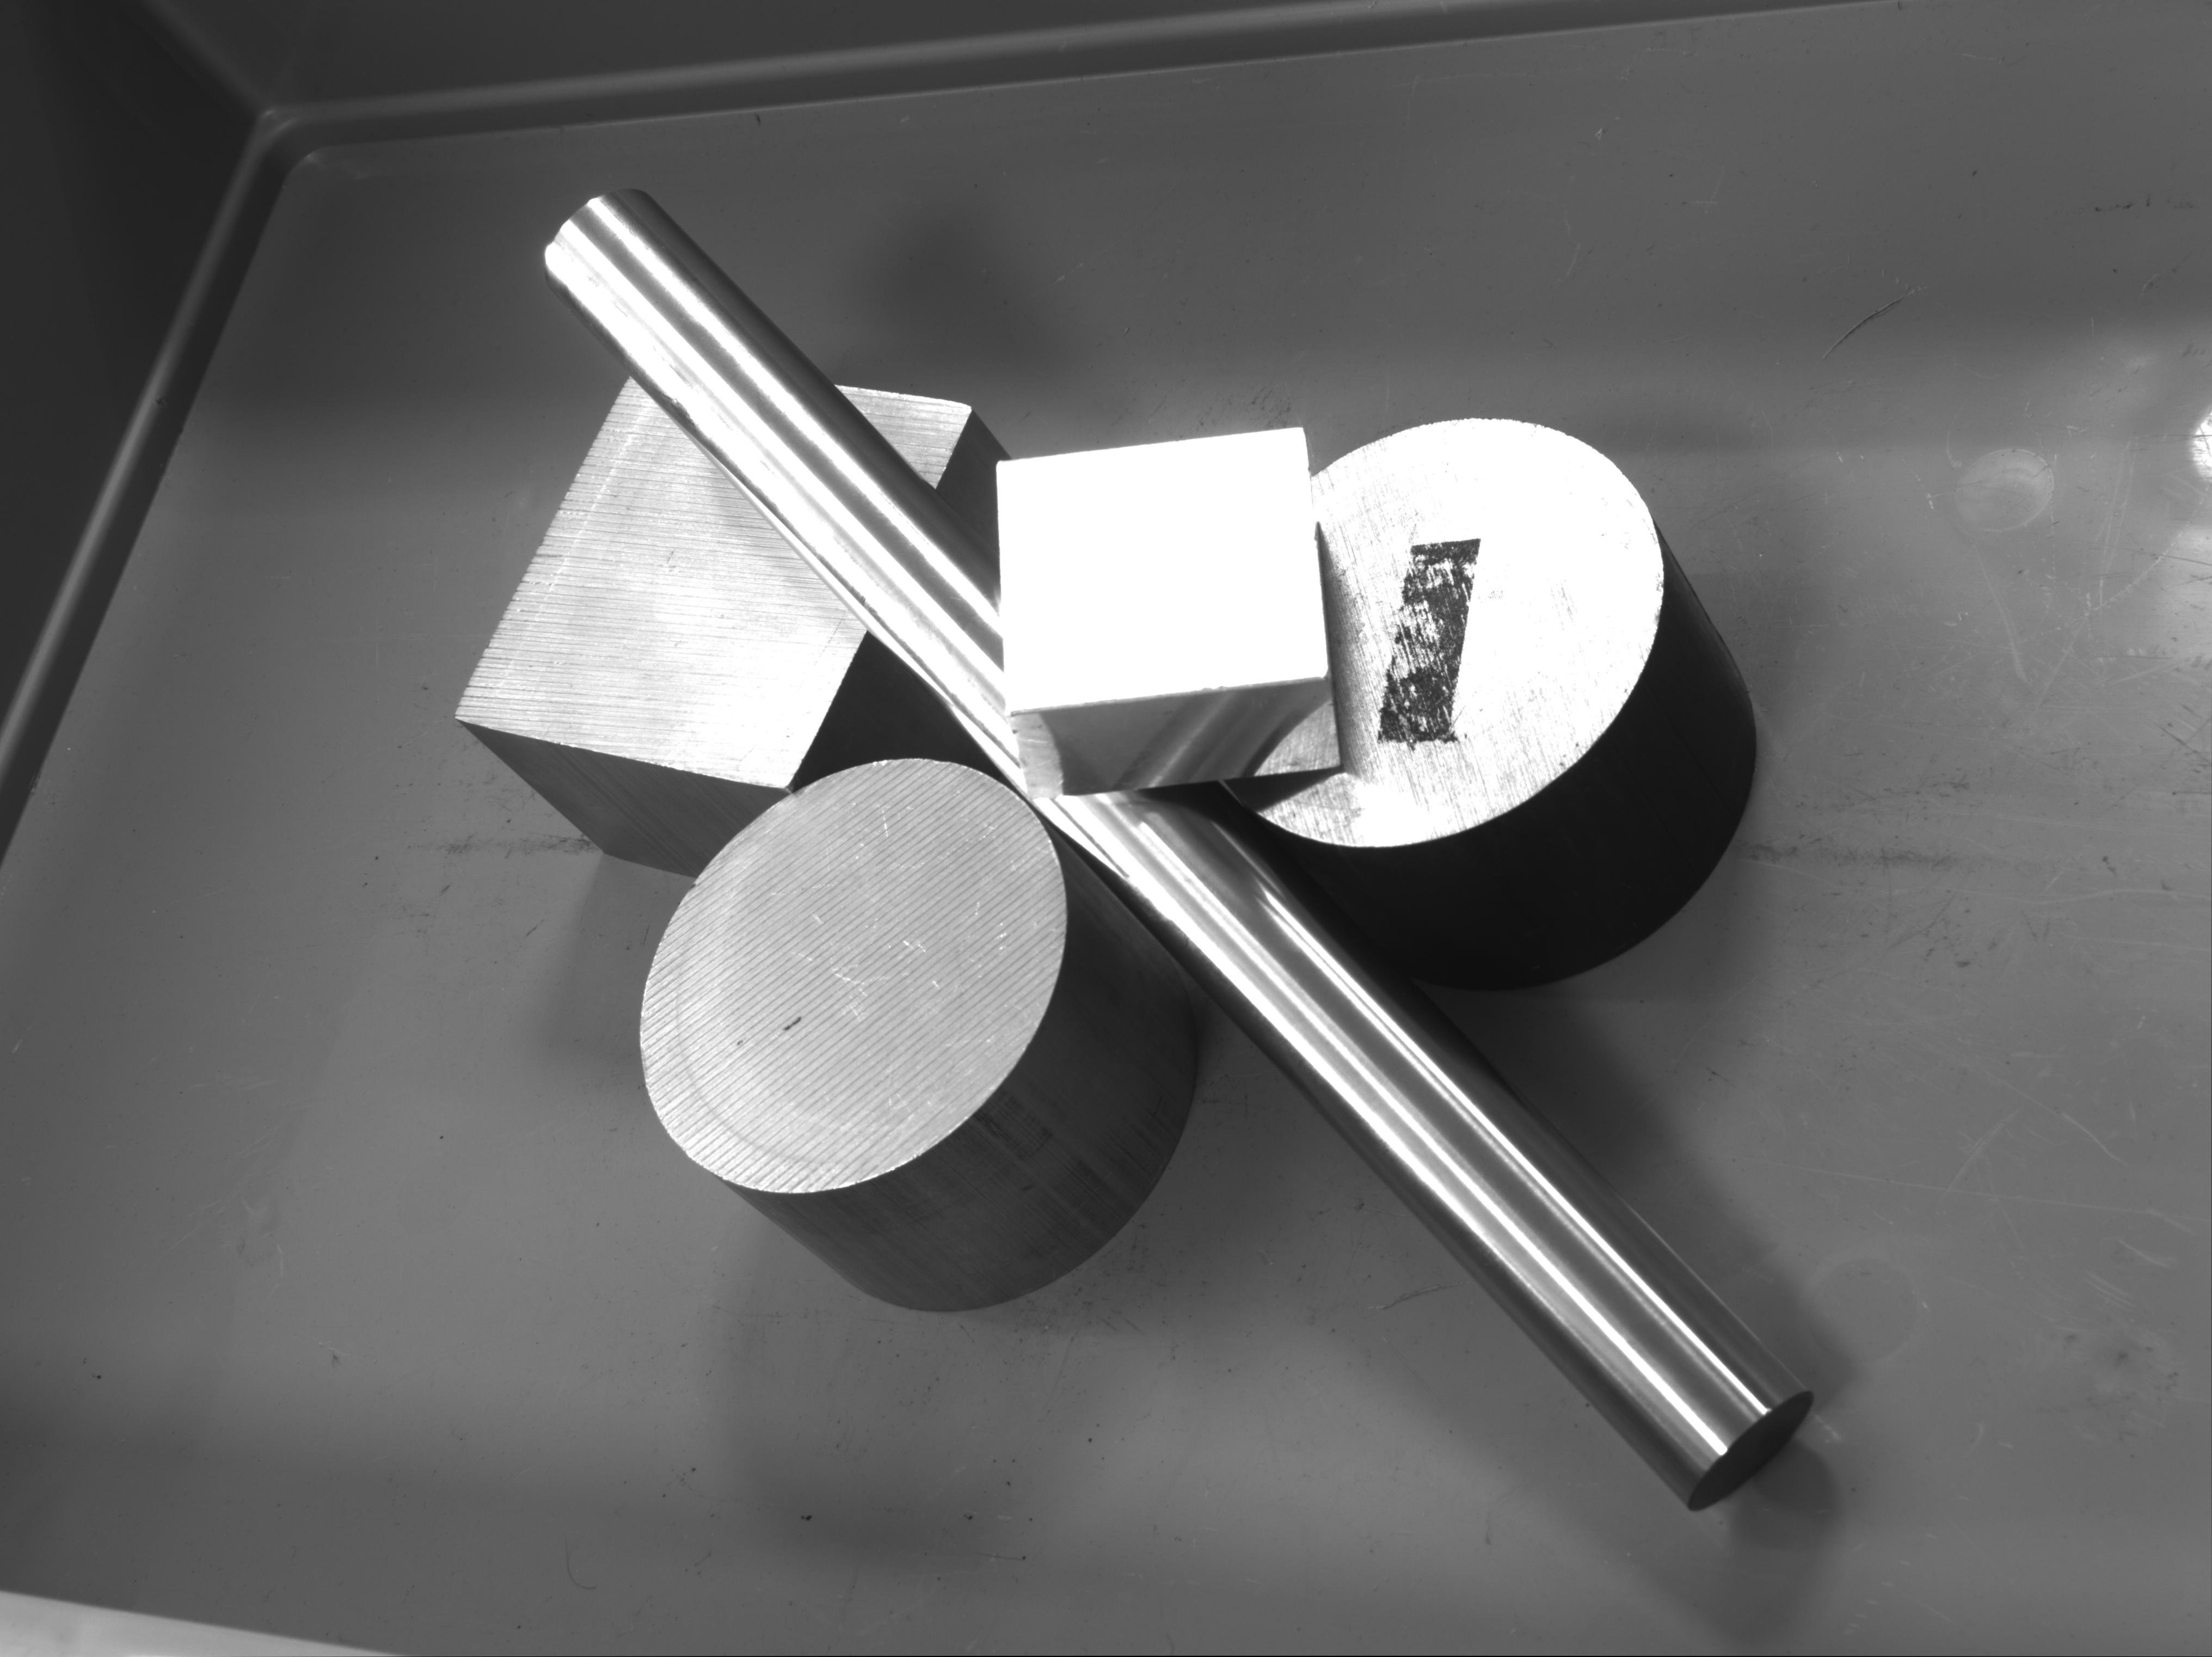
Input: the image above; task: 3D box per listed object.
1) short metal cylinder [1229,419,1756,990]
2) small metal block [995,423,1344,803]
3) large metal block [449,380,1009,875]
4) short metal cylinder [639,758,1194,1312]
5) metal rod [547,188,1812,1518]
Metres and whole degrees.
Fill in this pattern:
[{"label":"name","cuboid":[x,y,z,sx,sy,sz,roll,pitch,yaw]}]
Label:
[{"label":"short metal cylinder","cuboid":[0.061,-0.020,0.607,0.080,0.050,0.080,-14,56,21]},{"label":"small metal block","cuboid":[0.010,-0.035,0.586,0.050,0.025,0.050,-7,56,4]},{"label":"large metal block","cuboid":[-0.061,-0.035,0.680,0.080,0.050,0.080,12,67,33]},{"label":"short metal cylinder","cuboid":[-0.032,0.035,0.623,0.080,0.050,0.080,-14,56,21]},{"label":"metal rod","cuboid":[0.002,-0.007,0.602,0.025,0.025,0.299,-43,65,-1]}]
